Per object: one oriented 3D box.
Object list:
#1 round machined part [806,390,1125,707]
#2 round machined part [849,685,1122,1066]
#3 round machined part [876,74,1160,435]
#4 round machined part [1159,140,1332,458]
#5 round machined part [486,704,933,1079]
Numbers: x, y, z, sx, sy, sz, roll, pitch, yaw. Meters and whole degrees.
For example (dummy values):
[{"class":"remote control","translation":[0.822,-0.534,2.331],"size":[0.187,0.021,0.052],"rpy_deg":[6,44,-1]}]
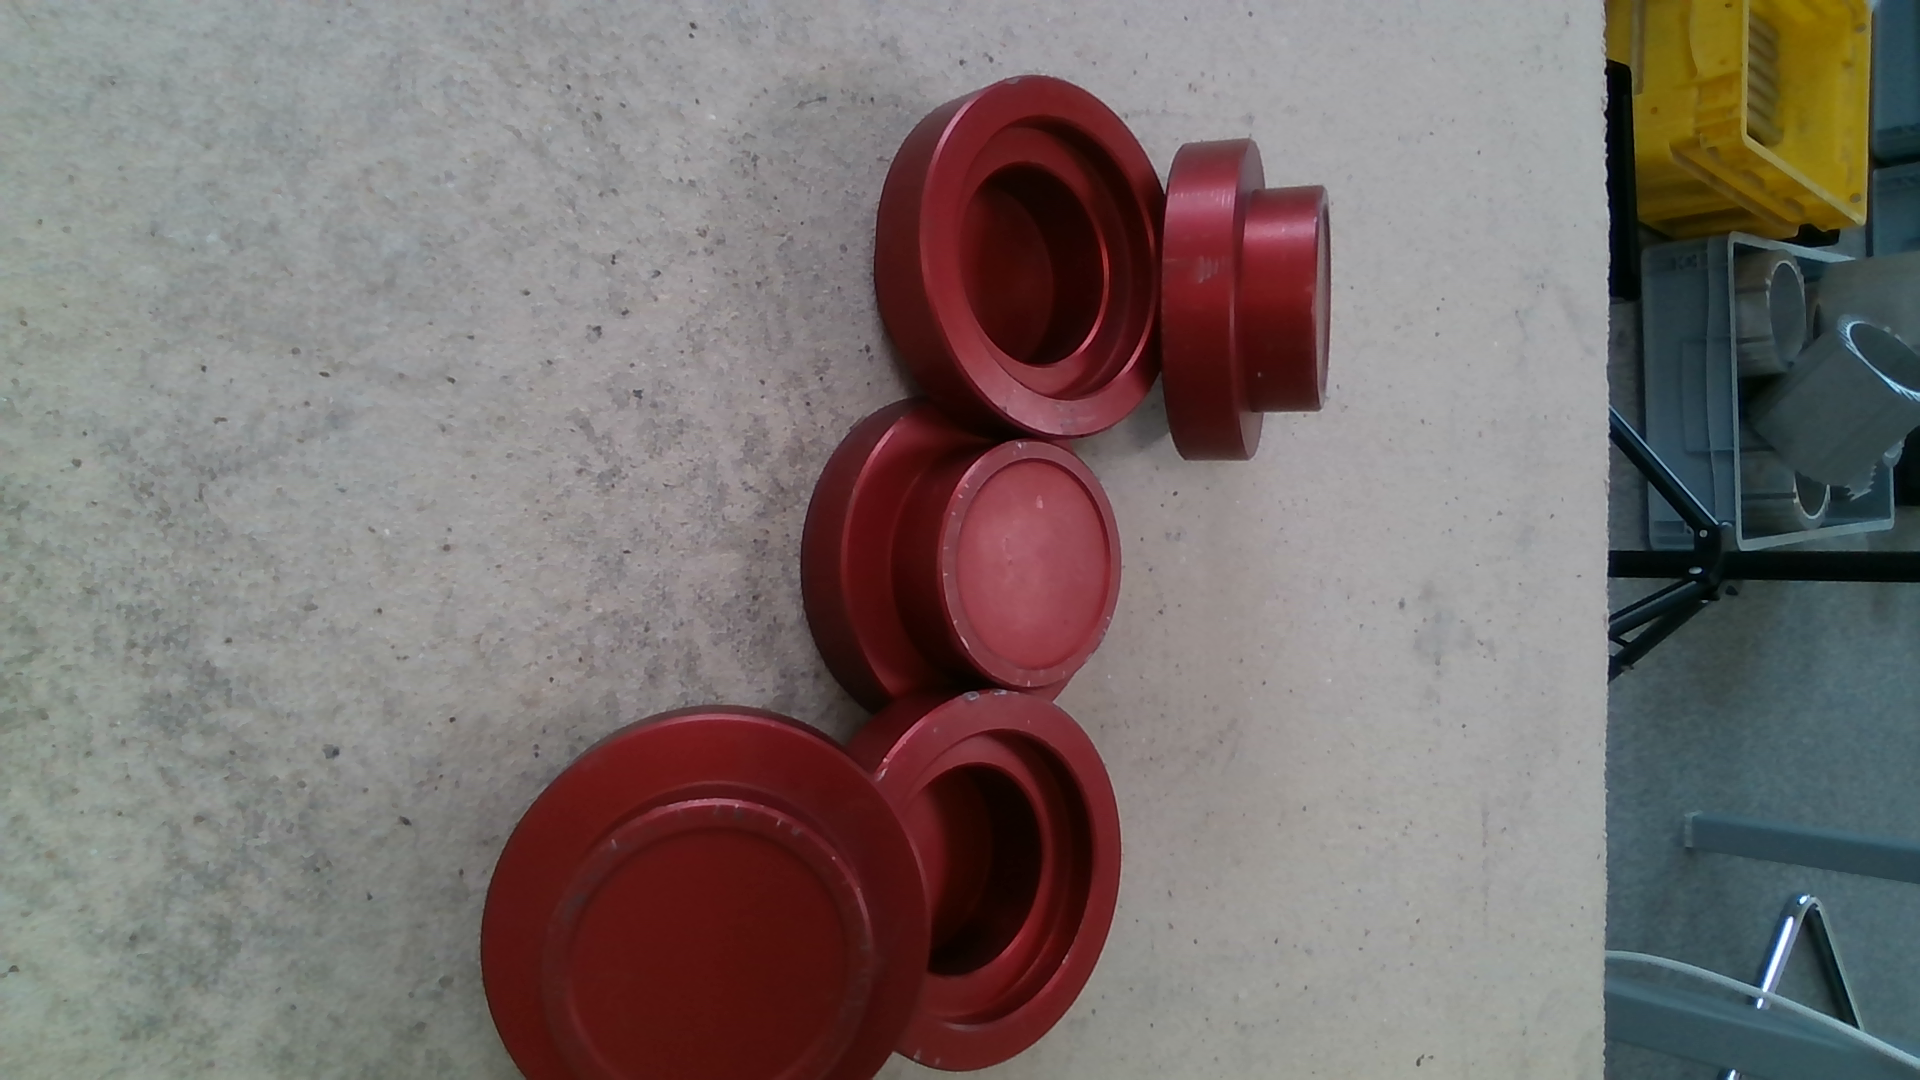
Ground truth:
[{"class":"round machined part","translation":[0.008,0.006,0.386],"size":[0.098,0.042,0.098],"rpy_deg":[2,87,-42]},{"class":"round machined part","translation":[-0.004,0.088,0.376],"size":[0.098,0.042,0.098],"rpy_deg":[1,89,-40]},{"class":"round machined part","translation":[0.015,-0.077,0.392],"size":[0.098,0.042,0.098],"rpy_deg":[1,89,-40]},{"class":"round machined part","translation":[0.092,-0.074,0.429],"size":[0.098,0.042,0.098],"rpy_deg":[2,89,-71]},{"class":"round machined part","translation":[-0.054,0.087,0.305],"size":[0.098,0.042,0.098],"rpy_deg":[0,90,-11]}]
